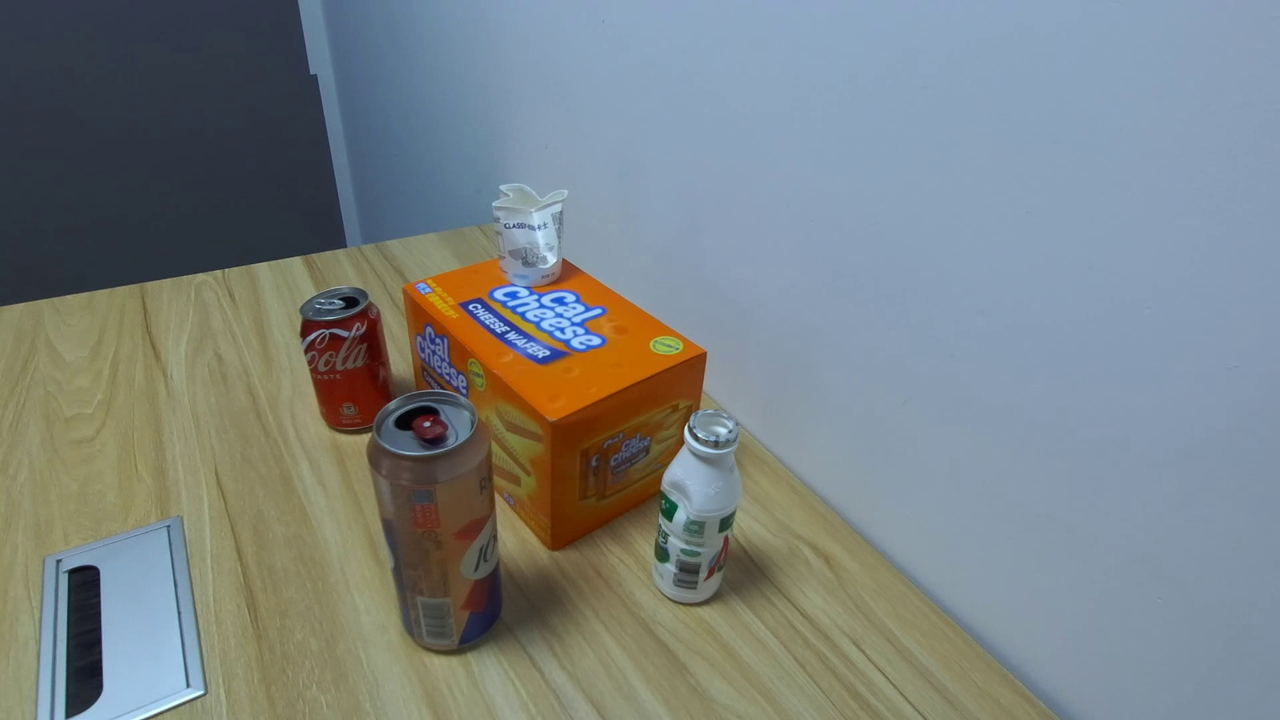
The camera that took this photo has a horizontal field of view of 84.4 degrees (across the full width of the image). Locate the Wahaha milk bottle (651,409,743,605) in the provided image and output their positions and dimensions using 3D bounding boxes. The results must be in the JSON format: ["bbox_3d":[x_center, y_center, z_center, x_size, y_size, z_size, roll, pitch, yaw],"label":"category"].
[{"bbox_3d":[0.039,0.103,0.473,0.053,0.137,0.053,4,35,-2],"label":"Wahaha milk bottle"}]

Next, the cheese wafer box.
[{"bbox_3d":[-0.075,0.018,0.593,0.149,0.129,0.221,-24,43,-33],"label":"cheese wafer box"}]

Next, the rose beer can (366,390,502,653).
[{"bbox_3d":[-0.121,0.103,0.431,0.068,0.169,0.068,2,35,-1],"label":"rose beer can"}]

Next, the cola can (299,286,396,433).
[{"bbox_3d":[-0.250,0.001,0.607,0.065,0.117,0.072,10,34,7],"label":"cola can"}]

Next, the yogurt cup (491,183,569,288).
[{"bbox_3d":[-0.092,-0.107,0.598,0.055,0.072,0.055,8,36,4],"label":"yogurt cup"}]
